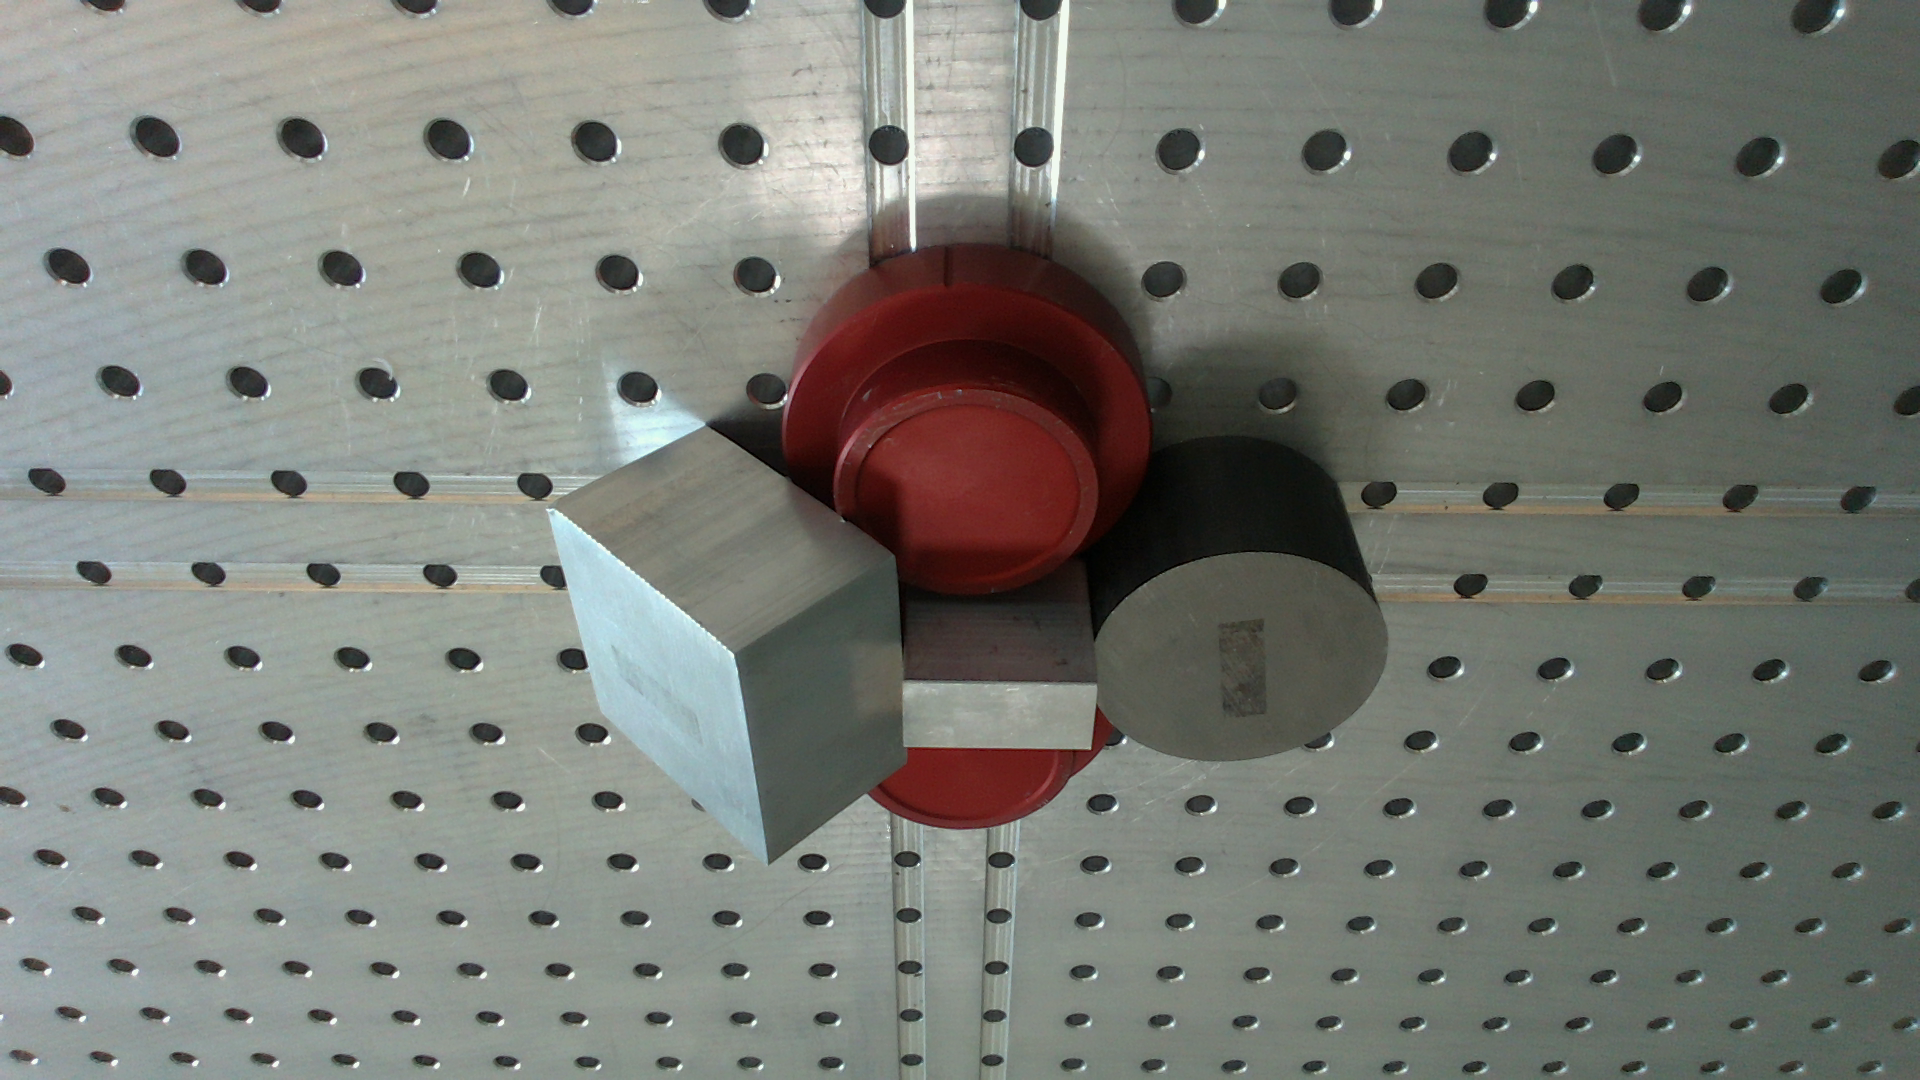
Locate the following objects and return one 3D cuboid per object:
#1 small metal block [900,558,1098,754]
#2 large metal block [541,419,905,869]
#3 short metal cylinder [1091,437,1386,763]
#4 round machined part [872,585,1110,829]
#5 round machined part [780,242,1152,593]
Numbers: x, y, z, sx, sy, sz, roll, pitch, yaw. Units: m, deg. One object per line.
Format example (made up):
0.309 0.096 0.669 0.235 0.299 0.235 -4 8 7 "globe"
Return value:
0.010 0.030 0.374 0.050 0.050 0.025 1 130 -1 "small metal block"
-0.062 0.027 0.372 0.050 0.080 0.080 -33 140 -32 "large metal block"
0.075 0.018 0.392 0.080 0.050 0.080 0 130 0 "short metal cylinder"
0.000 0.052 0.427 0.098 0.042 0.098 0 130 0 "round machined part"
0.002 -0.025 0.362 0.098 0.042 0.098 0 130 0 "round machined part"
